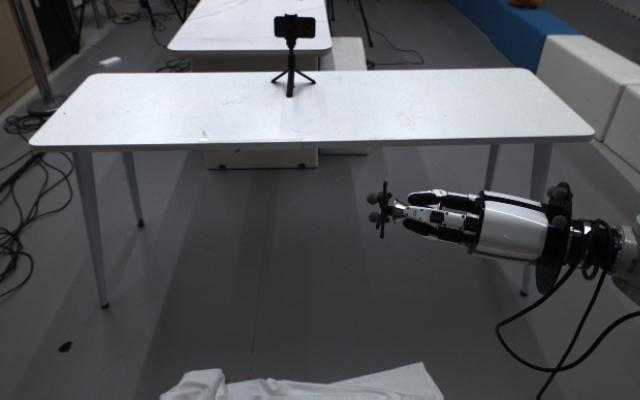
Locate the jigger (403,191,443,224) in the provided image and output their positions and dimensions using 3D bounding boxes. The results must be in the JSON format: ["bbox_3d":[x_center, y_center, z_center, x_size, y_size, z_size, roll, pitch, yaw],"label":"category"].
[{"bbox_3d":[0.154,0.014,0.732,0.071,0.043,0.043,4,34,19],"label":"jigger"}]
